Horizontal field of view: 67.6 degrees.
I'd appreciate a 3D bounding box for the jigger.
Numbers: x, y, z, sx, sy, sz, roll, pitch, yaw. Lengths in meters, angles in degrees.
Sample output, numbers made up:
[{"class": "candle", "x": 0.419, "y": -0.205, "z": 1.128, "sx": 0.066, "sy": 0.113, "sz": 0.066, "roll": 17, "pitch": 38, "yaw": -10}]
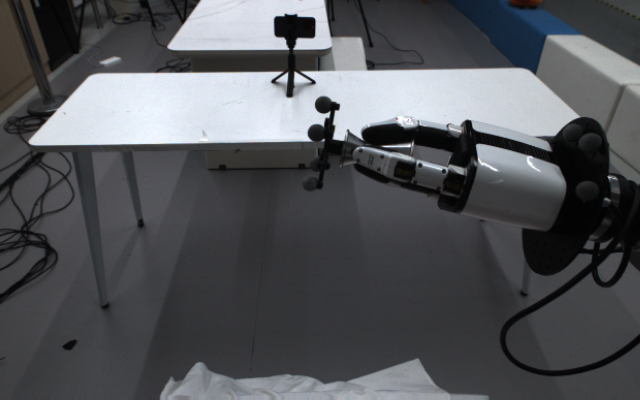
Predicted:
[{"class": "jigger", "x": 0.064, "y": -0.048, "z": 0.492, "sx": 0.071, "sy": 0.043, "sz": 0.043, "roll": 11, "pitch": 35, "yaw": 4}]
